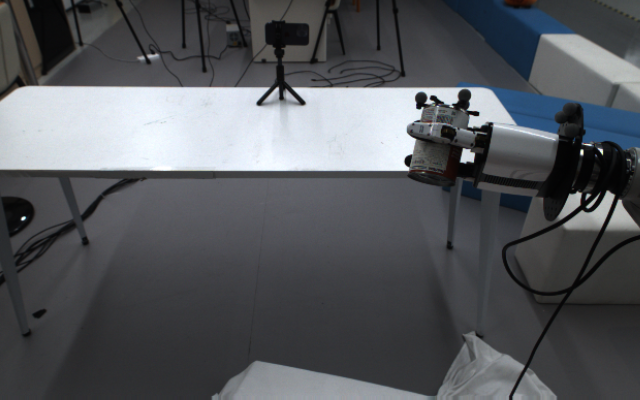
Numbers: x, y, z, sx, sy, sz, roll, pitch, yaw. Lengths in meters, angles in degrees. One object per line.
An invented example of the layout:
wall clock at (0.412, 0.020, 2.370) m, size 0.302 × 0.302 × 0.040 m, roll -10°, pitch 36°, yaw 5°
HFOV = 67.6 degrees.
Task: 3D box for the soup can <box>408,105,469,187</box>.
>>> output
soup can at (0.167, -0.078, 0.683) m, size 0.067 × 0.101 × 0.067 m, roll 14°, pitch -7°, yaw 2°
